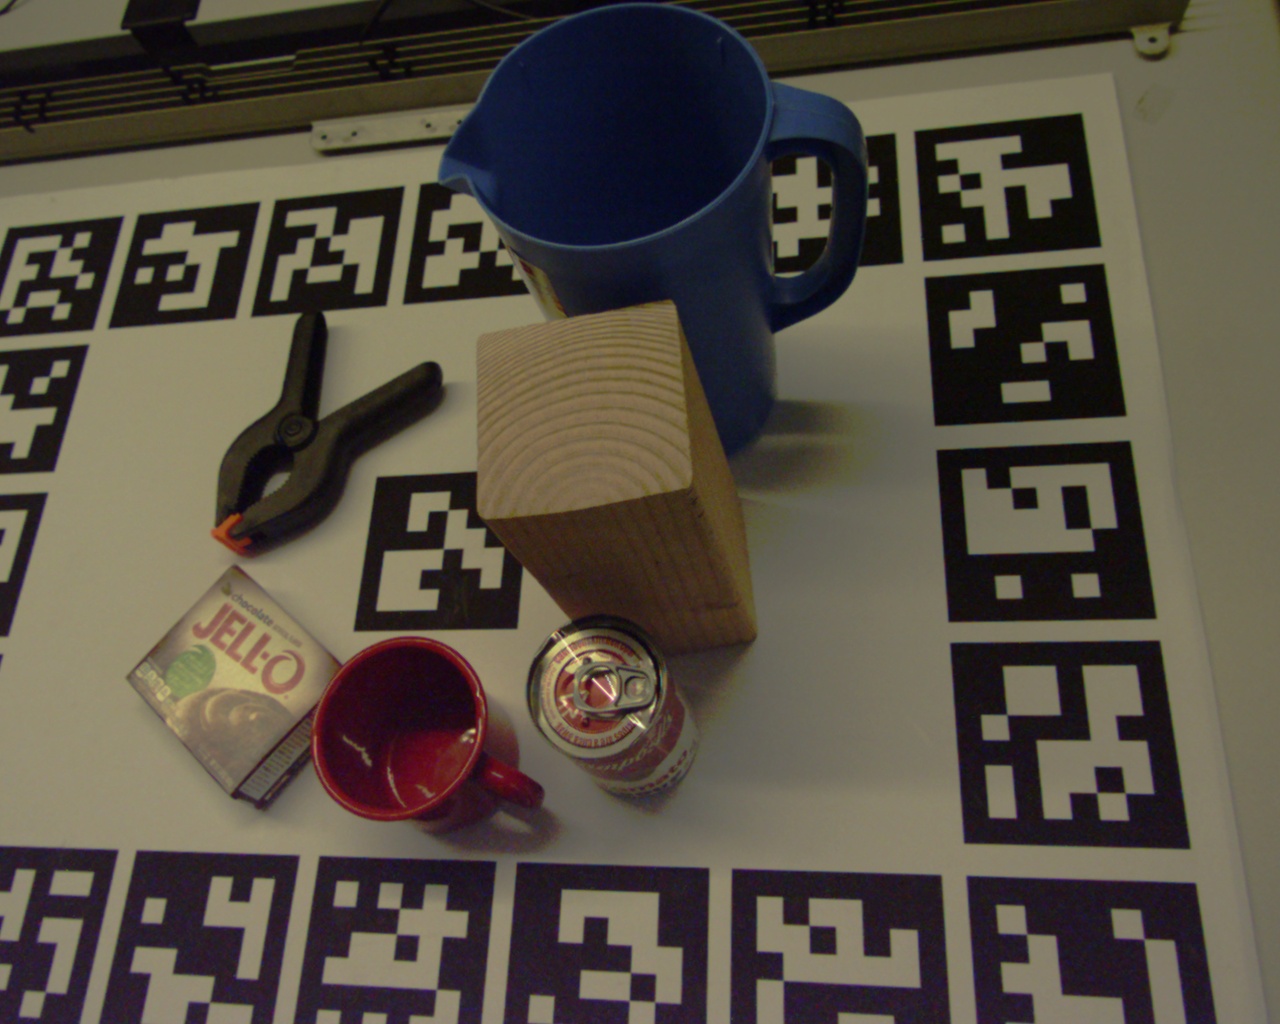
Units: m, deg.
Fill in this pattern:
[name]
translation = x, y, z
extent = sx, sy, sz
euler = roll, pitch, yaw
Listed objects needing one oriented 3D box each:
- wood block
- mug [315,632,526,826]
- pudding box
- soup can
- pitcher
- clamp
[wood block]
translation = -0.009, -0.002, 0.581
extent = 0.090, 0.205, 0.091
euler = -5, 65, 7
[mug]
translation = -0.108, 0.129, 0.617
extent = 0.118, 0.081, 0.093
euler = 32, 75, 25
[pudding box]
translation = -0.240, 0.103, 0.689
extent = 0.115, 0.038, 0.090
euler = 34, 81, 25
[soup can]
translation = -0.018, 0.102, 0.594
extent = 0.068, 0.101, 0.068
euler = -5, 68, 11
[pitcher]
translation = 0.016, -0.121, 0.612
extent = 0.190, 0.240, 0.133
euler = -5, 63, 14
[clamp]
translation = -0.213, -0.044, 0.755
extent = 0.123, 0.036, 0.165
euler = 27, 75, 16
